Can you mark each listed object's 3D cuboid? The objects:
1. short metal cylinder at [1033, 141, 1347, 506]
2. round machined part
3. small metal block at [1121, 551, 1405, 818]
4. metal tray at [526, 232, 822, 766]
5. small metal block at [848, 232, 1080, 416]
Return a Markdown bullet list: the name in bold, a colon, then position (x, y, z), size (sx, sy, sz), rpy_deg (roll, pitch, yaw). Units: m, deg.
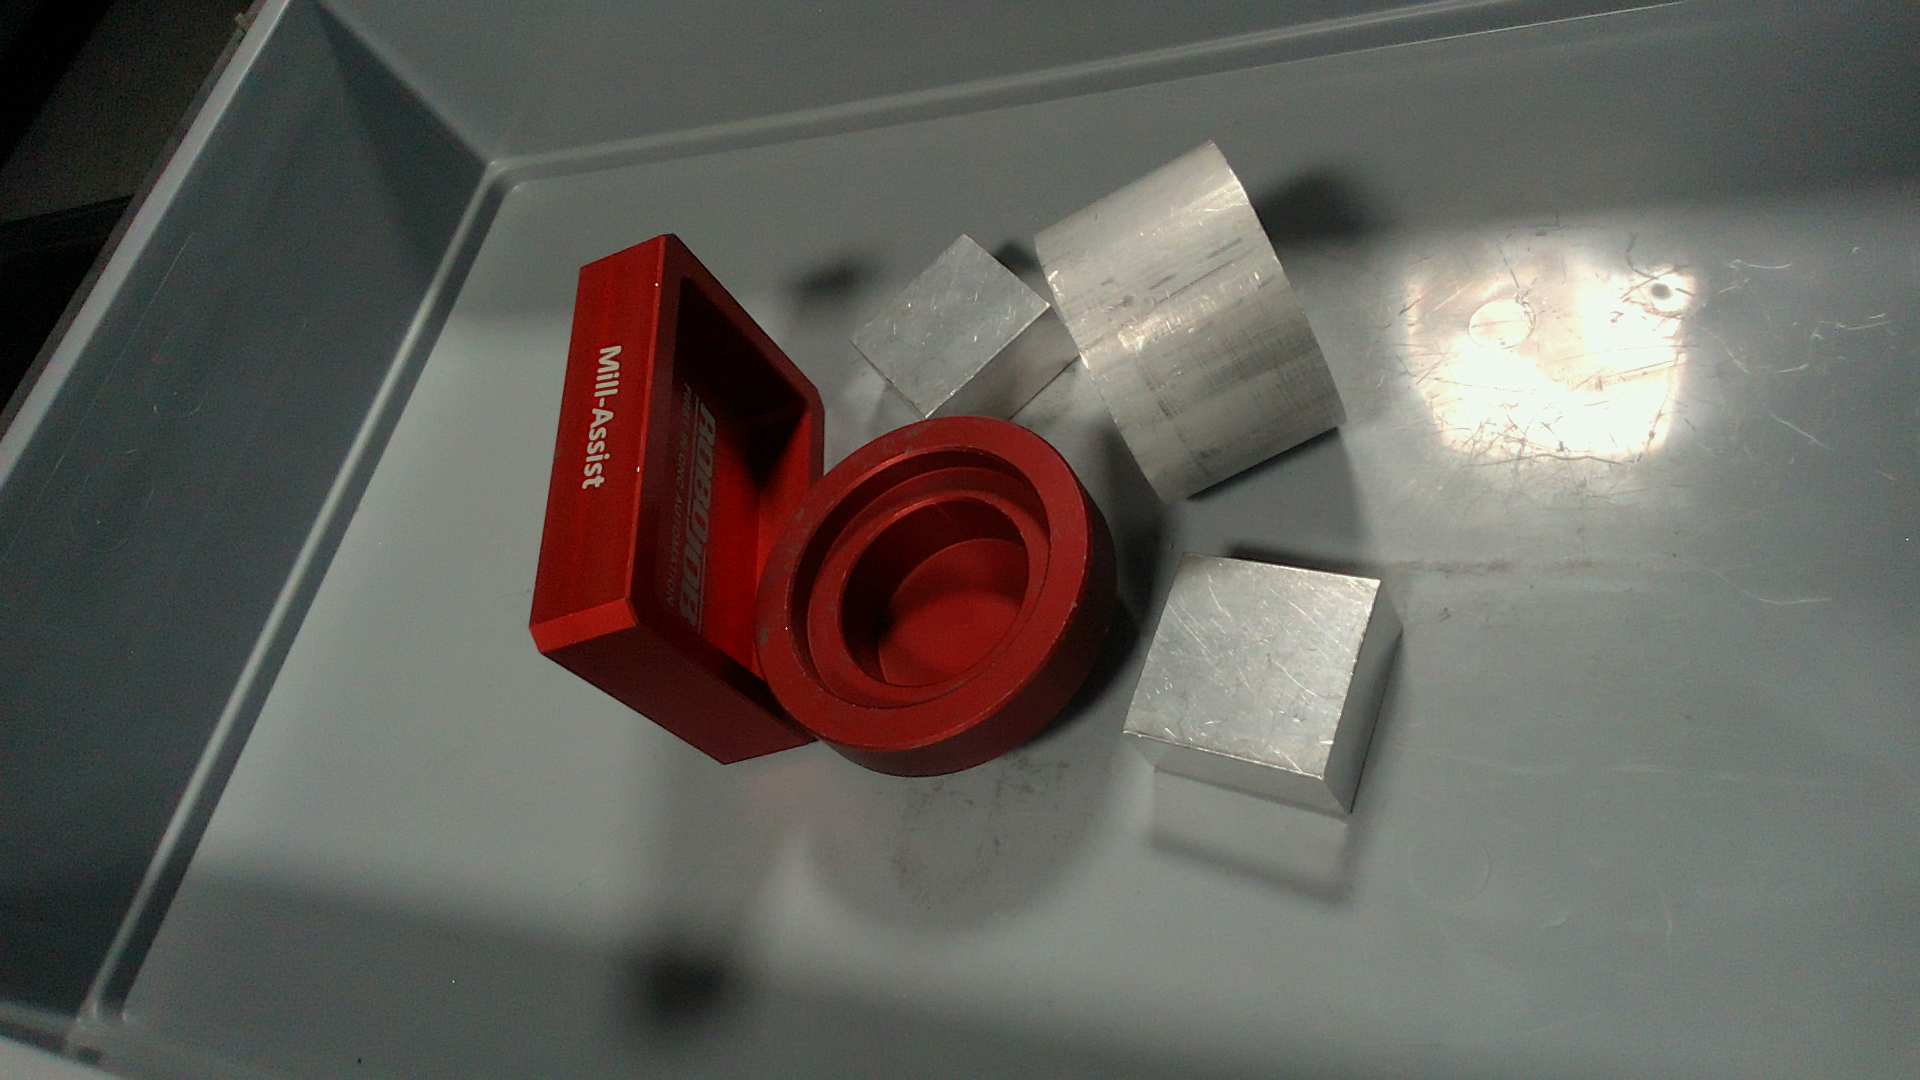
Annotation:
- **short metal cylinder**: position (0.060, -0.056, 0.359), size (0.050, 0.080, 0.080), rpy_deg (-26, 52, 12)
- **round machined part**: position (-0.004, 0.017, 0.371), size (0.098, 0.042, 0.098), rpy_deg (-13, 56, 21)
- **small metal block**: position (0.073, 0.034, 0.332), size (0.050, 0.025, 0.050), rpy_deg (9, 65, 34)
- **metal tray**: position (-0.076, -0.012, 0.399), size (0.030, 0.090, 0.130), rpy_deg (-16, 55, 20)
- **small metal block**: position (0.001, -0.061, 0.429), size (0.050, 0.025, 0.050), rpy_deg (-43, 49, 0)
